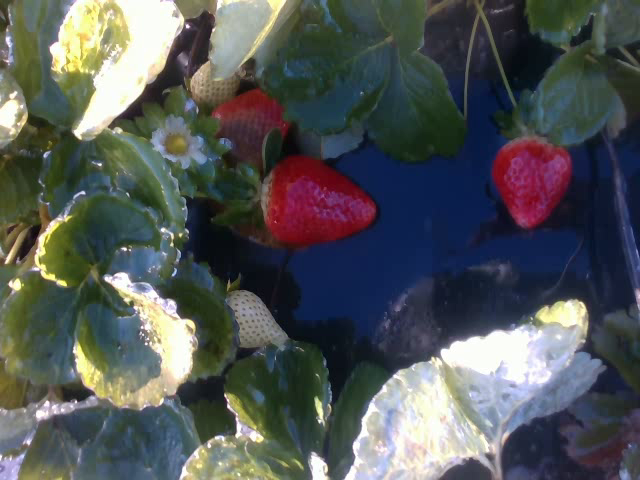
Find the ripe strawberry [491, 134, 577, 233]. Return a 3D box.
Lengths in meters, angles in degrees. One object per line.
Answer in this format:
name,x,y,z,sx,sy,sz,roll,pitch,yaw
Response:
ripe strawberry,0.095,-0.024,0.273,0.039,0.047,0.040,3,3,-4

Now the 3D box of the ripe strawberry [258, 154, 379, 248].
ripe strawberry,0.002,-0.014,0.285,0.056,0.044,0.040,14,13,-7
